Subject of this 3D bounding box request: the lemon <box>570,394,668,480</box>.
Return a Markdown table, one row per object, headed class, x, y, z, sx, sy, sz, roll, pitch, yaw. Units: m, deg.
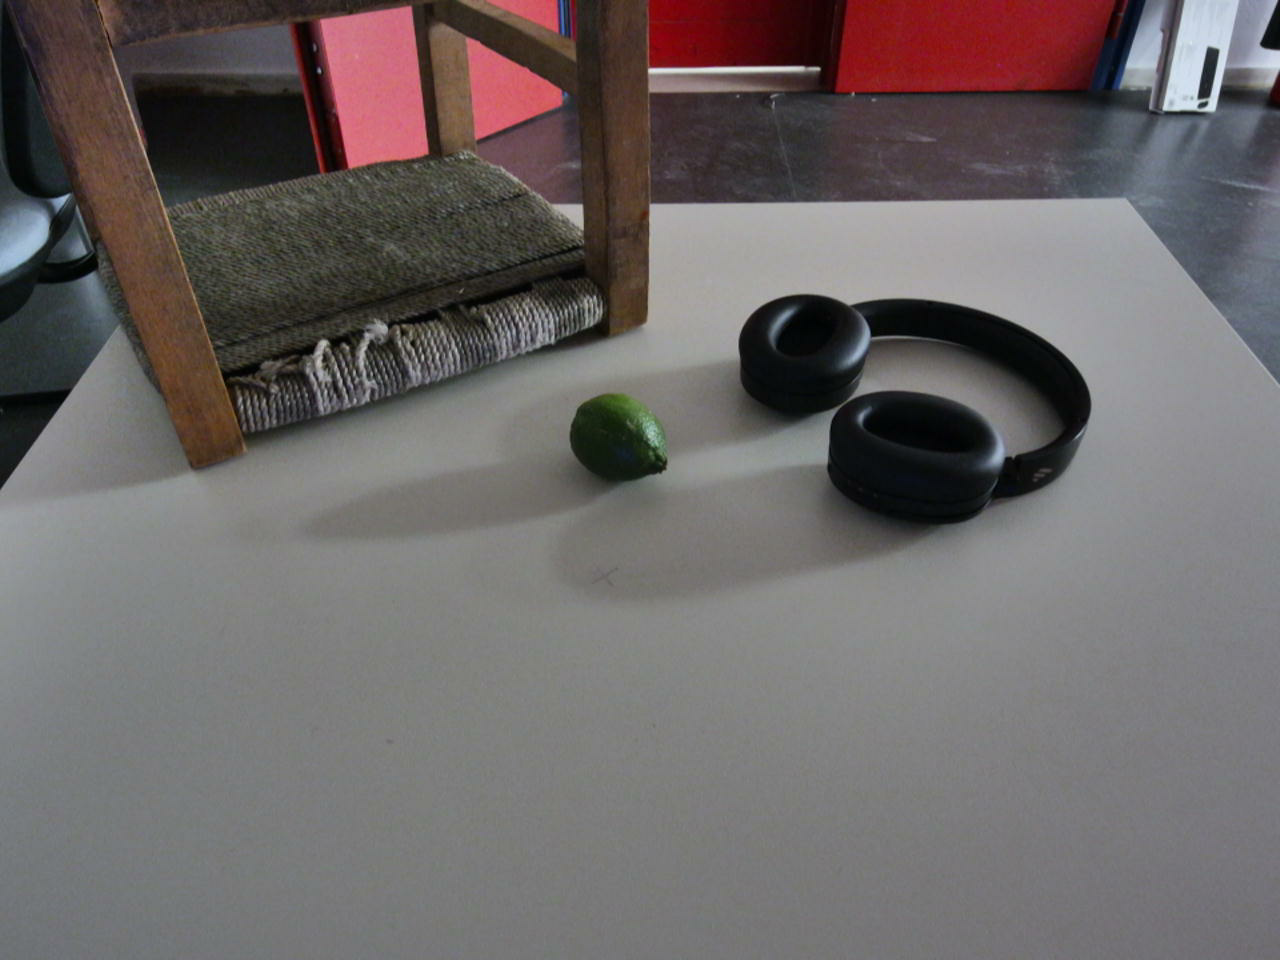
| class | x | y | z | sx | sy | sz | roll | pitch | yaw |
| --- | --- | --- | --- | --- | --- | --- | --- | --- | --- |
| lemon | -0.013 | -0.027 | 0.602 | 0.057 | 0.051 | 0.054 | -3 | 39 | -3 |
